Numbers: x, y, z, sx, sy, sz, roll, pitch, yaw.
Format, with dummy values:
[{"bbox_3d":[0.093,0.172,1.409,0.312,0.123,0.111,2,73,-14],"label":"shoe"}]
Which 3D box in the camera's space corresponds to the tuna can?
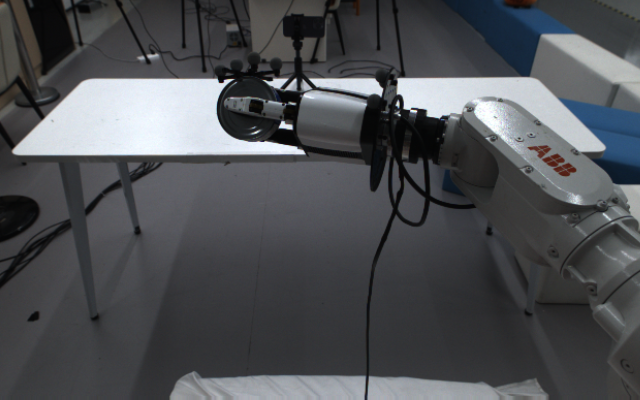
[{"bbox_3d":[-0.092,-0.122,0.661,0.085,0.085,0.034,10,3,11],"label":"tuna can"}]
